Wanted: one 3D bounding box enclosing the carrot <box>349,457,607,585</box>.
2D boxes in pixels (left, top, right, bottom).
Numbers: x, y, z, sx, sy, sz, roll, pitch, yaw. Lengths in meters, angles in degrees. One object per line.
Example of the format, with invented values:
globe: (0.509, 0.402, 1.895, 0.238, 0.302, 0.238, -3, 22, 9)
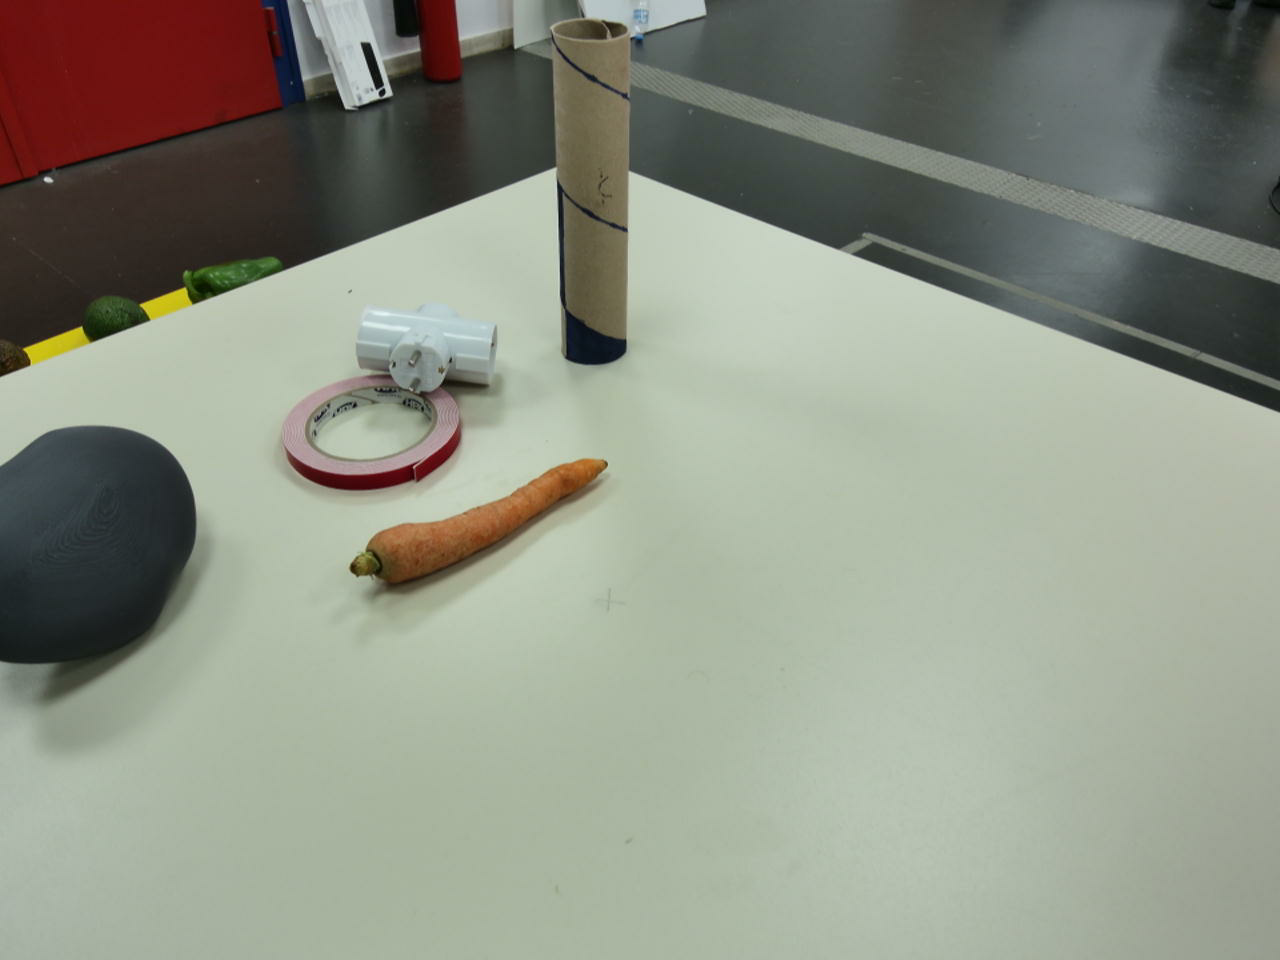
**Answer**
carrot: (-0.084, 0.019, 0.564, 0.173, 0.032, 0.030, -26, 45, -31)
